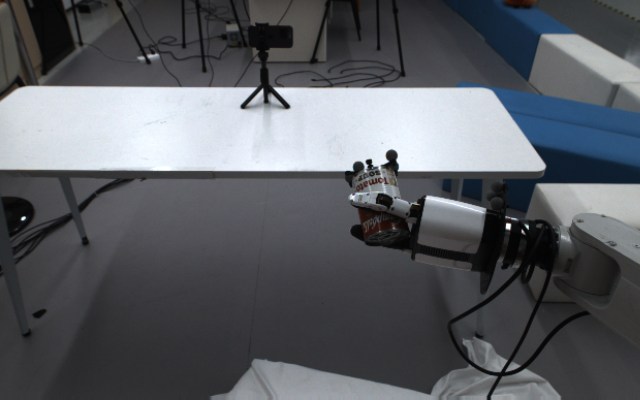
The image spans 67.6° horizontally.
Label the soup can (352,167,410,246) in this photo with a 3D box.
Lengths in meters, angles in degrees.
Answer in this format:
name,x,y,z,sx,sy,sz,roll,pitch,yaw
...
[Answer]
name,x,y,z,sx,sy,sz,roll,pitch,yaw
soup can,0.090,0.009,0.715,0.067,0.067,0.101,-6,68,-12
